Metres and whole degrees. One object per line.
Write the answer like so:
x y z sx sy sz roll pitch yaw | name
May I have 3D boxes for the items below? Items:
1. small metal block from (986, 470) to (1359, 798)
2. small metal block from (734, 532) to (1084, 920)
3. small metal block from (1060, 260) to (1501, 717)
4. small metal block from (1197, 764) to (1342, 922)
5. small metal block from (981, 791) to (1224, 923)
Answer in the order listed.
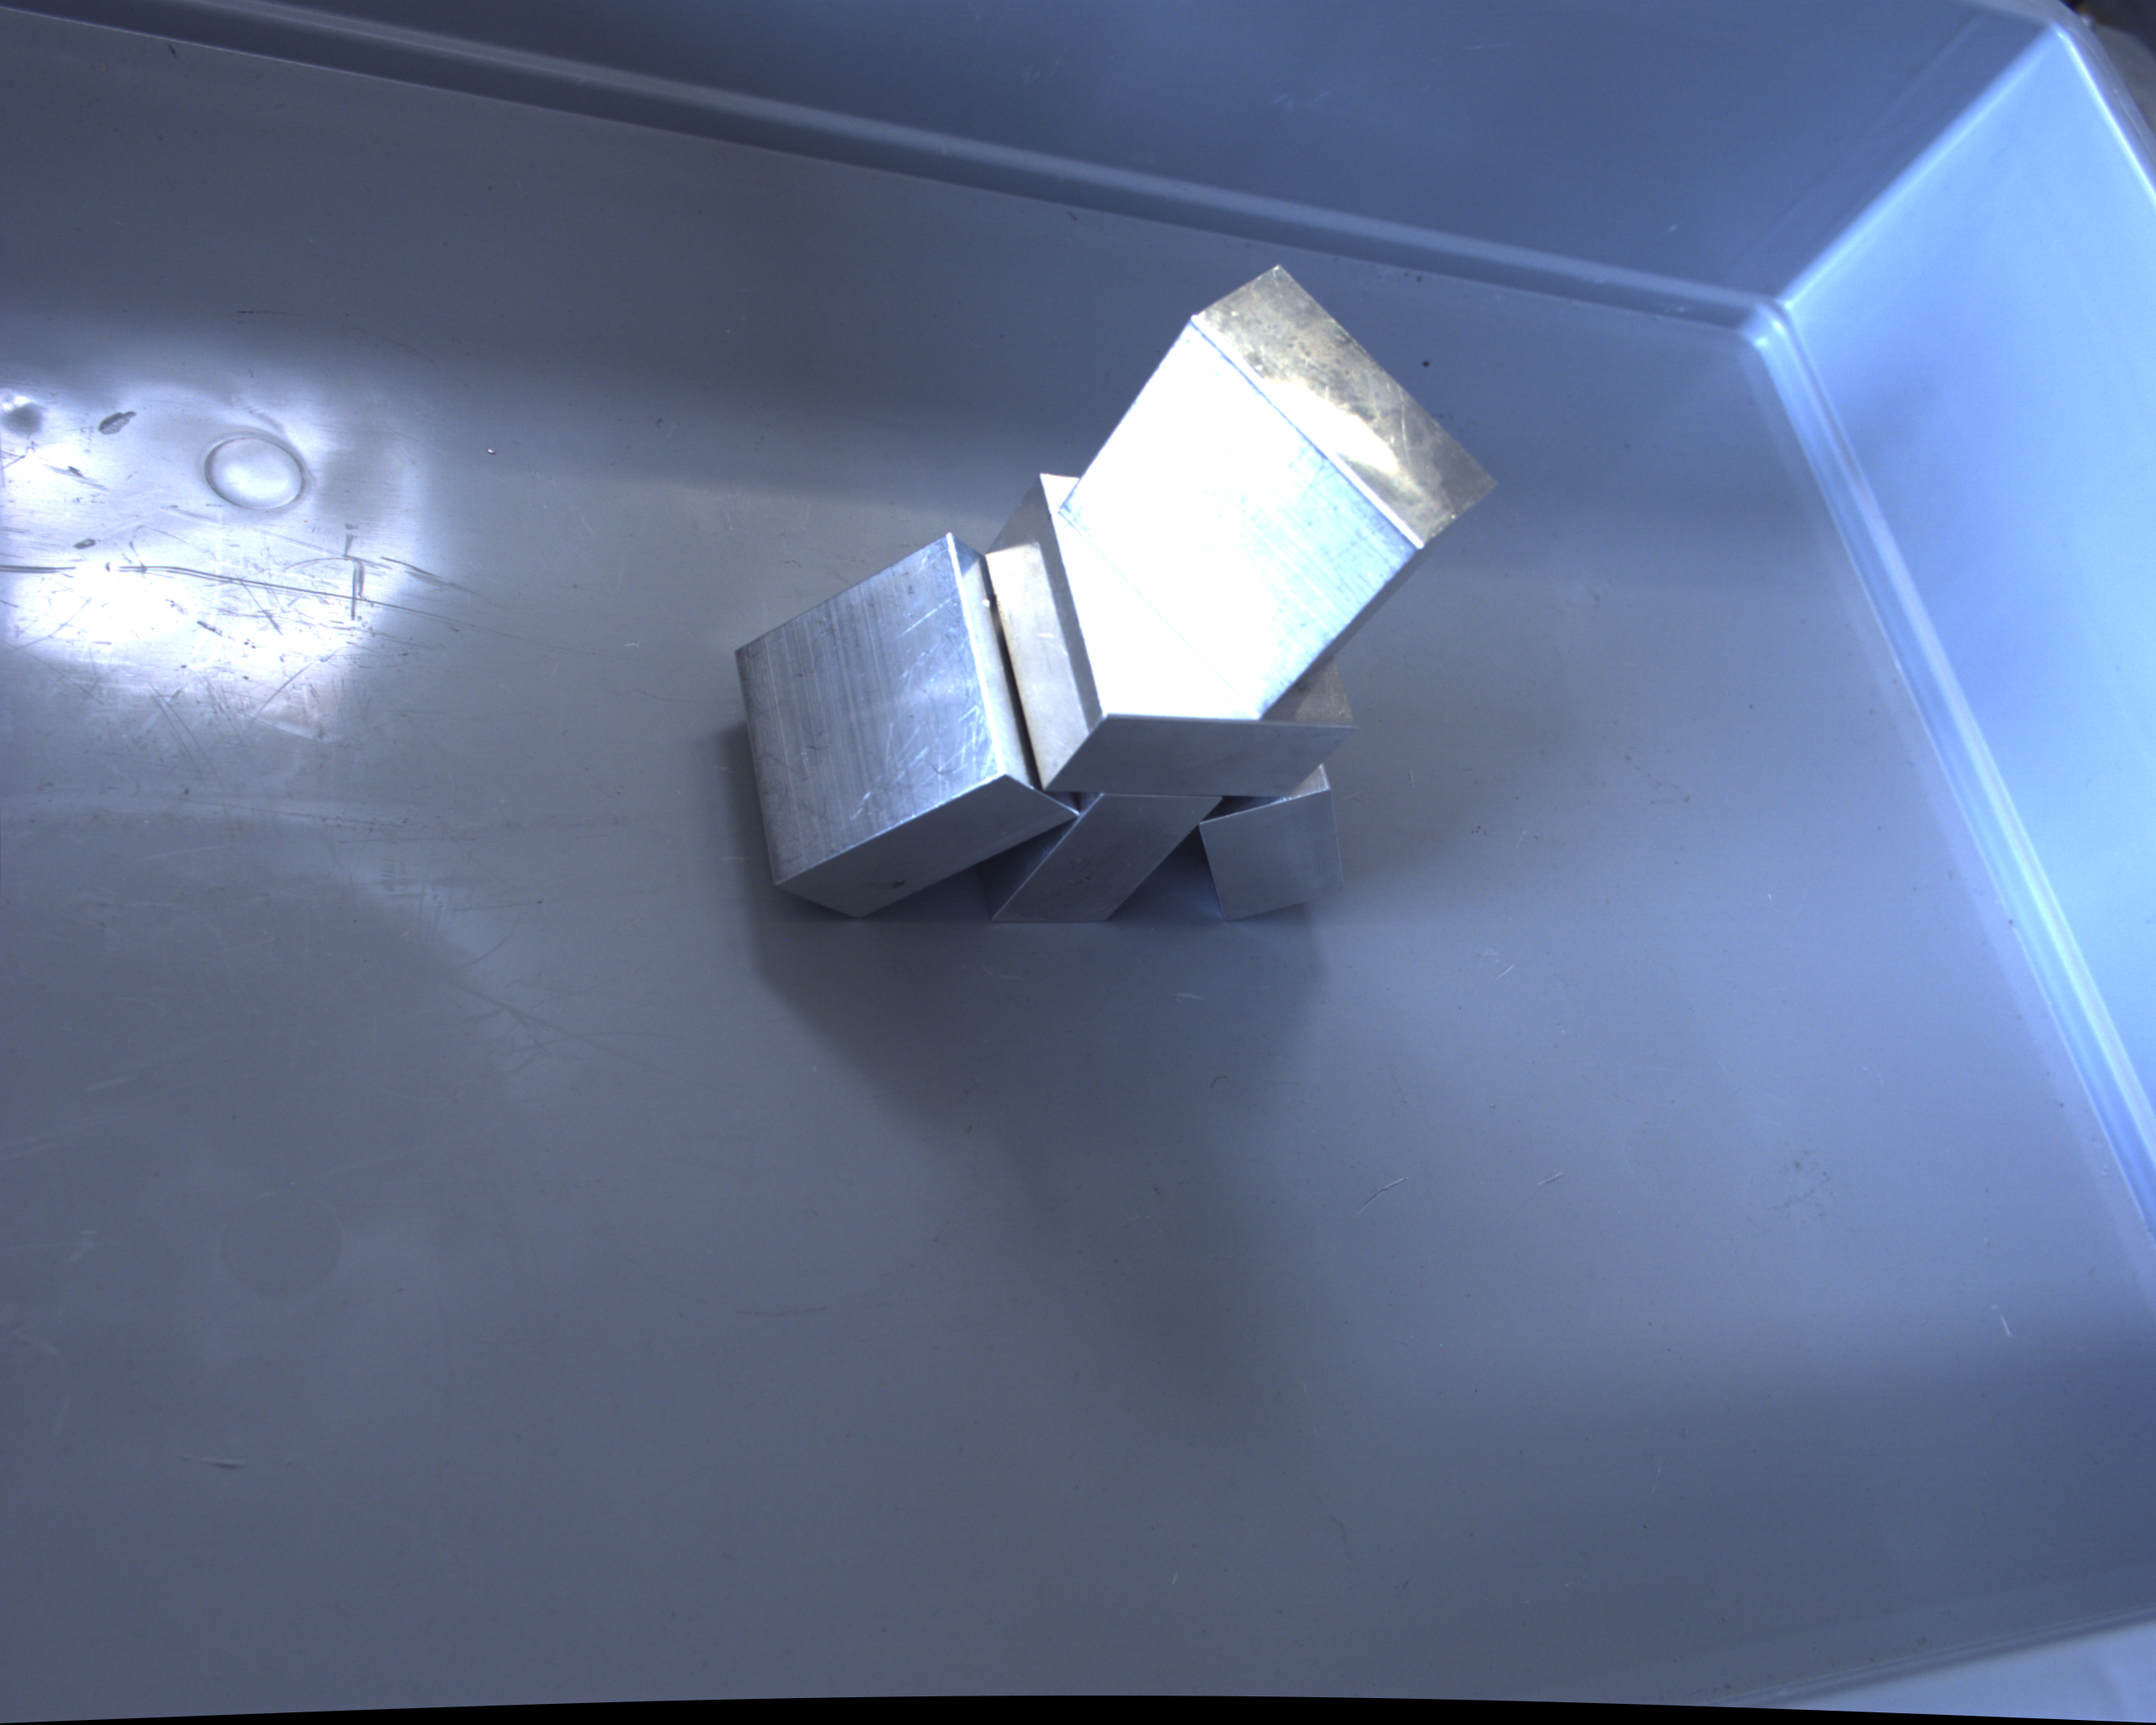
0.016 -0.040 0.371 0.050 0.025 0.050 1 61 -28 | small metal block
-0.032 -0.024 0.381 0.025 0.050 0.050 28 42 -55 | small metal block
0.032 -0.061 0.344 0.050 0.050 0.025 46 52 4 | small metal block
0.033 -0.023 0.416 0.025 0.050 0.050 -15 65 3 | small metal block
-0.001 -0.022 0.400 0.025 0.050 0.050 1 61 -28 | small metal block
